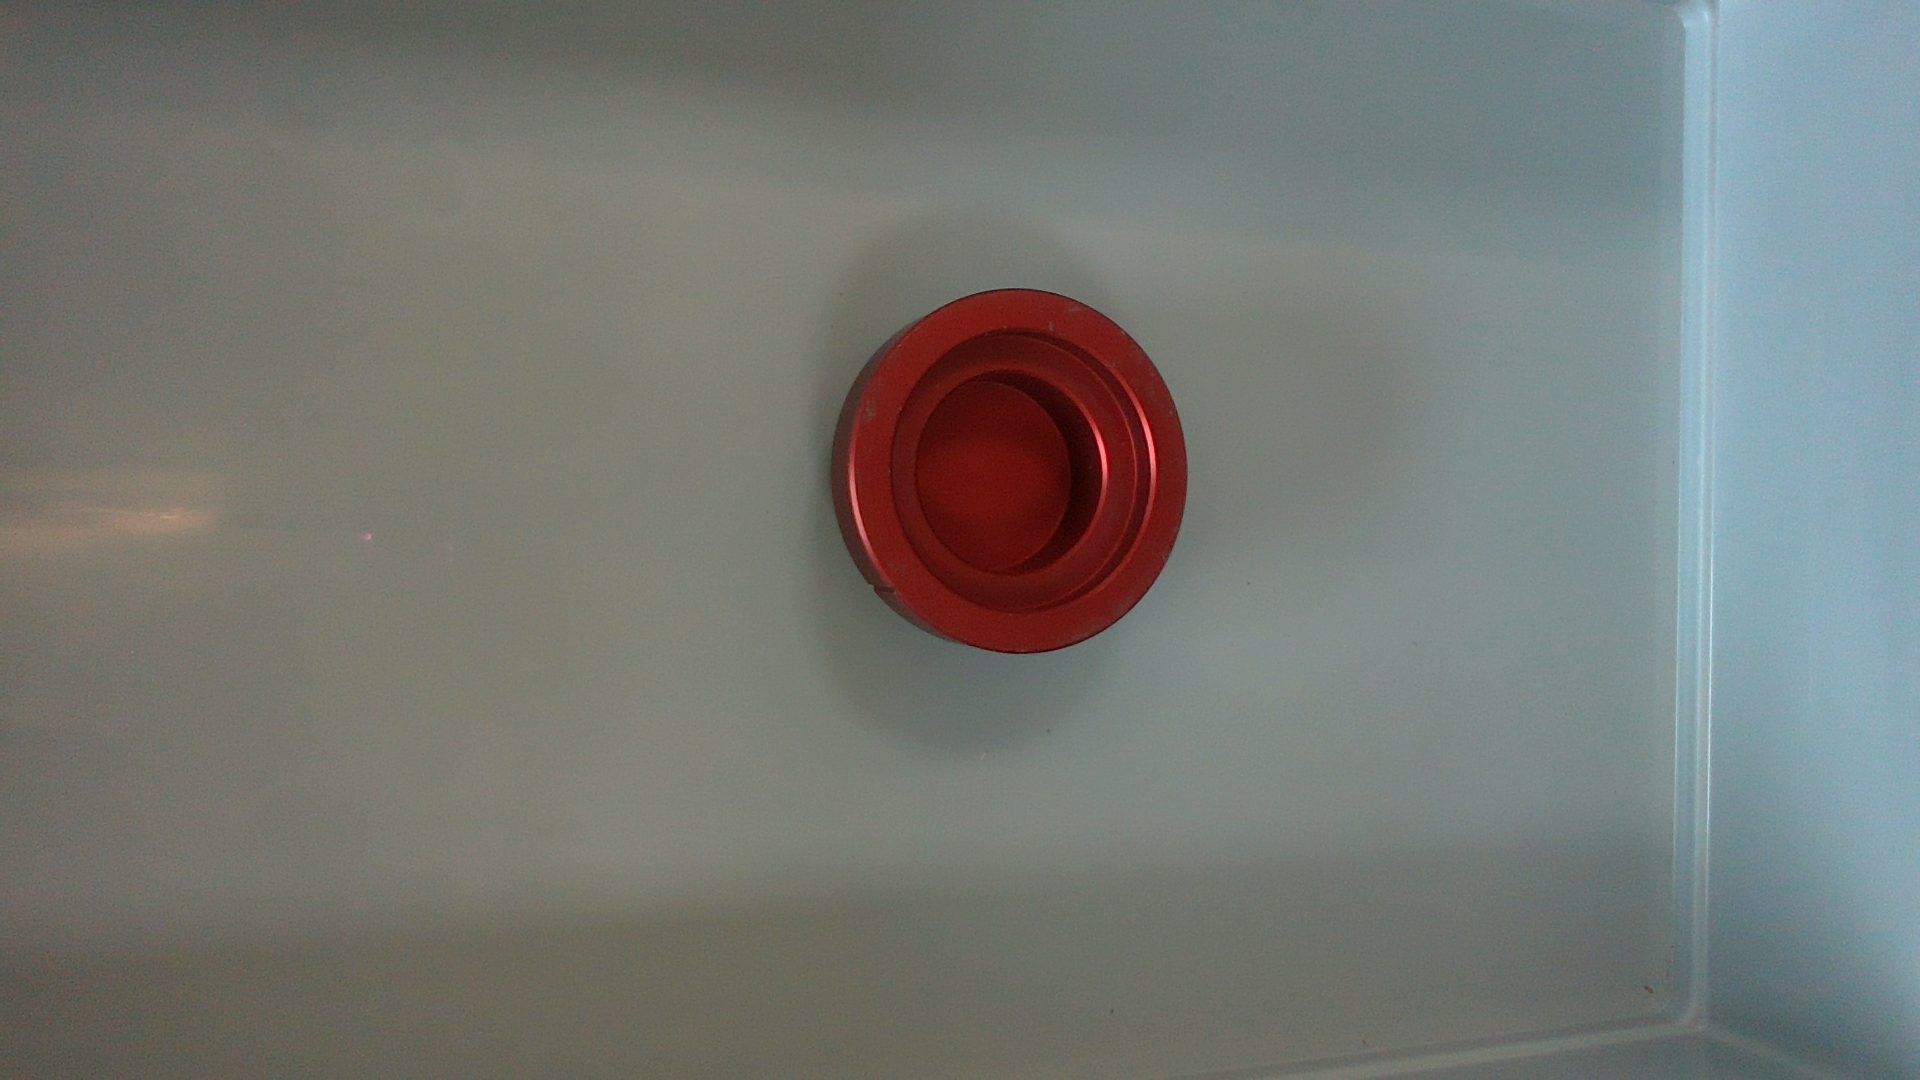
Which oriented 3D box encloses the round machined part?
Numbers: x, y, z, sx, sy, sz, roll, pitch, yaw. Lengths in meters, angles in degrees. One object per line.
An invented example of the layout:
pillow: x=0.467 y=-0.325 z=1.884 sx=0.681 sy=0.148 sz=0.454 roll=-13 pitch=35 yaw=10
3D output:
round machined part: x=0.011 y=-0.018 z=0.385 sx=0.098 sy=0.042 sz=0.098 roll=0 pitch=90 yaw=-20
